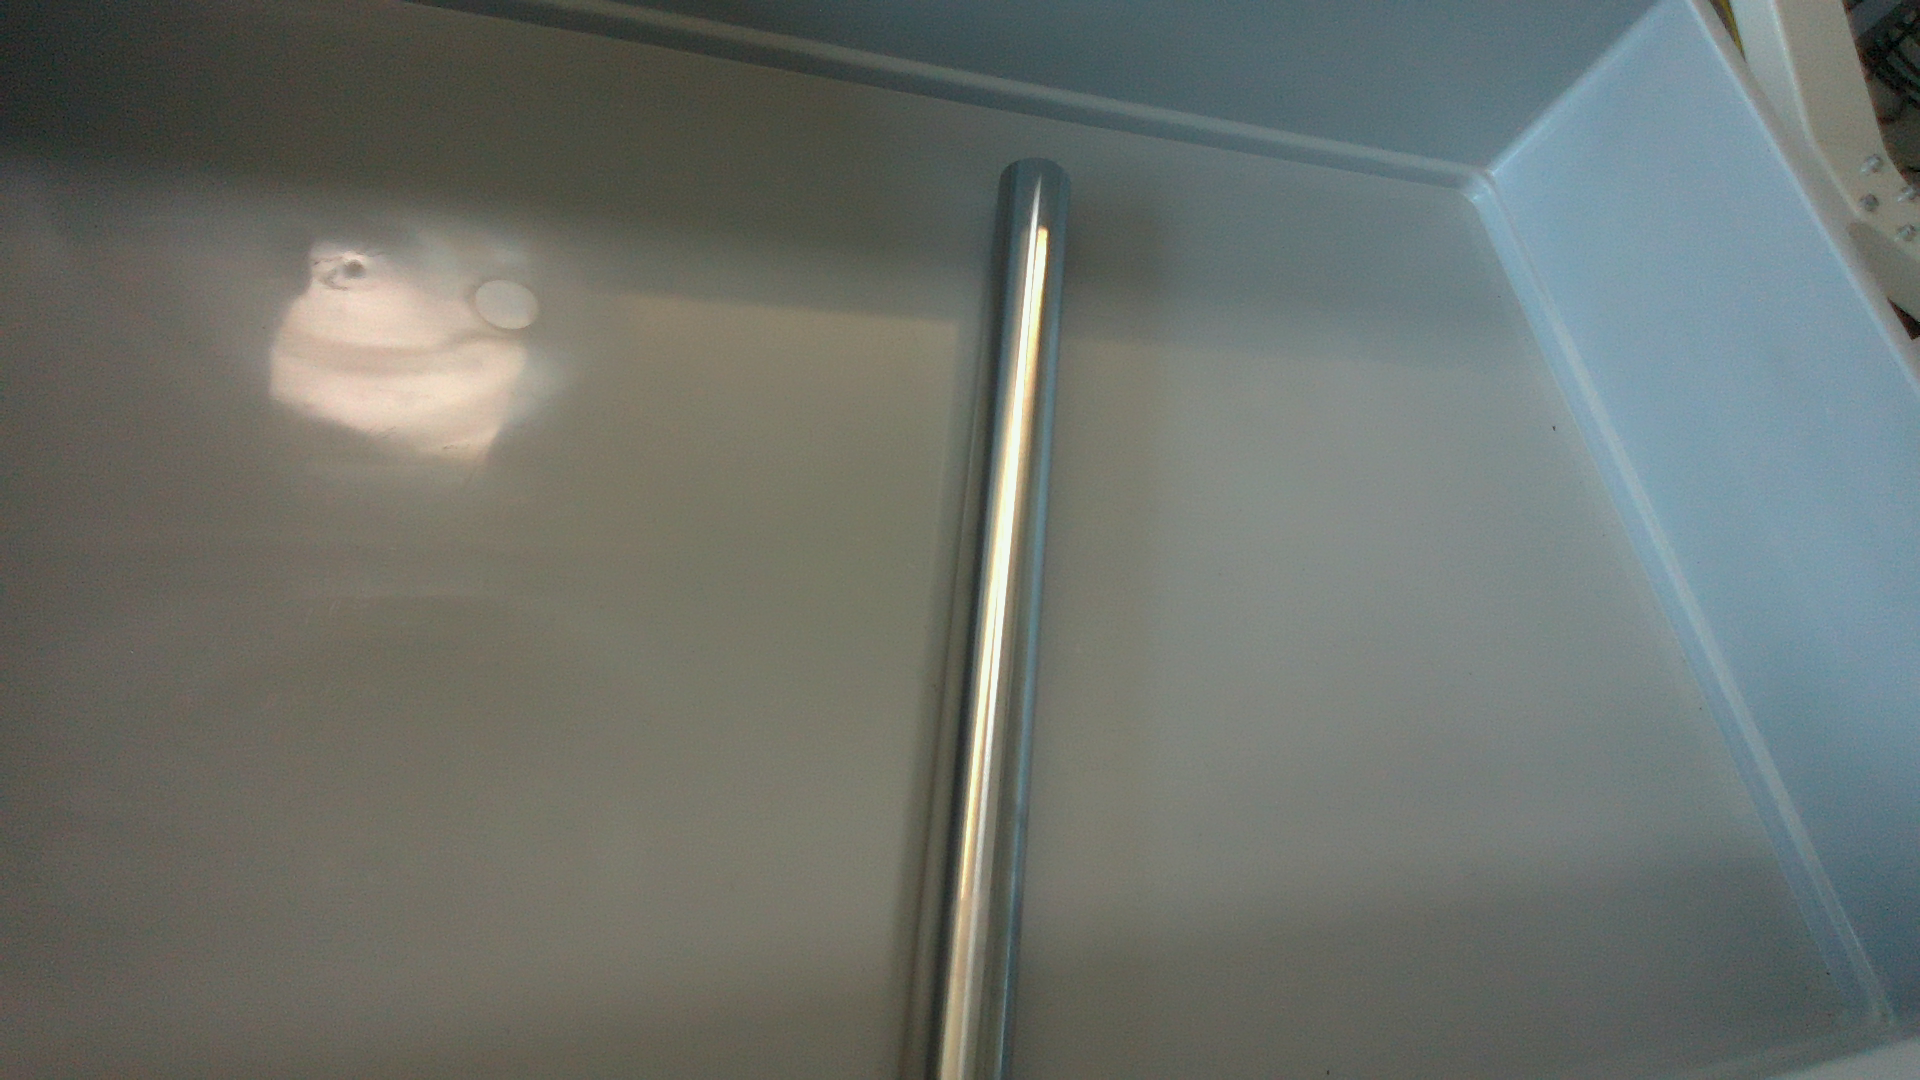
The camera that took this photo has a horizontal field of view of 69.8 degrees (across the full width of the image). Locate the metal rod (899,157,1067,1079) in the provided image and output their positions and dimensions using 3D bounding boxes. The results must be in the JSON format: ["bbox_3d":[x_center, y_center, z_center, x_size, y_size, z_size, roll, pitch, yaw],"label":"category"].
[{"bbox_3d":[0.011,0.002,0.392,0.025,0.025,0.300,18,54,-18],"label":"metal rod"}]
